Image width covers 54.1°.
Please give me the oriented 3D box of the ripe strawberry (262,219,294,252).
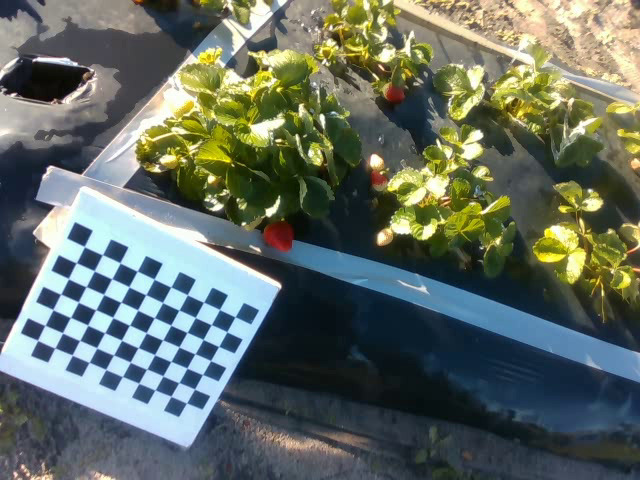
[{"bbox_3d":[-0.055,-0.004,0.860,0.045,0.064,0.049,-36,-45,4],"label":"ripe strawberry"}]
